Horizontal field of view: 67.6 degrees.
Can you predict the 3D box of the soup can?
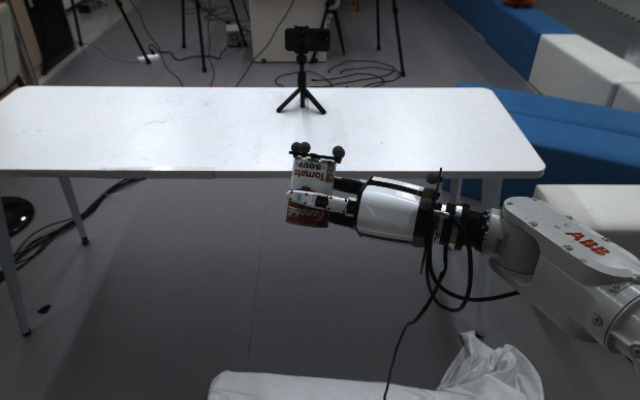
[{"bbox_3d":[-0.013,-0.013,0.749,0.067,0.101,0.067,7,4,0],"label":"soup can"}]
